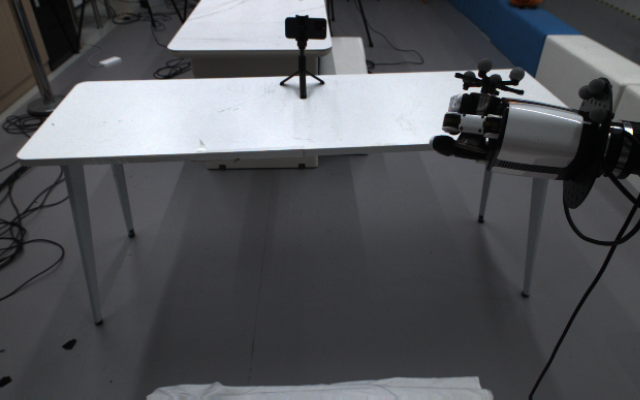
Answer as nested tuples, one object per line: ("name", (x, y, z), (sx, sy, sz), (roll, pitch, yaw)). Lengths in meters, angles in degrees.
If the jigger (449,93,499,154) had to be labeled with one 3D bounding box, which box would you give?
("jigger", (0.202, -0.099, 0.618), (0.043, 0.071, 0.043), (17, 2, -1))
